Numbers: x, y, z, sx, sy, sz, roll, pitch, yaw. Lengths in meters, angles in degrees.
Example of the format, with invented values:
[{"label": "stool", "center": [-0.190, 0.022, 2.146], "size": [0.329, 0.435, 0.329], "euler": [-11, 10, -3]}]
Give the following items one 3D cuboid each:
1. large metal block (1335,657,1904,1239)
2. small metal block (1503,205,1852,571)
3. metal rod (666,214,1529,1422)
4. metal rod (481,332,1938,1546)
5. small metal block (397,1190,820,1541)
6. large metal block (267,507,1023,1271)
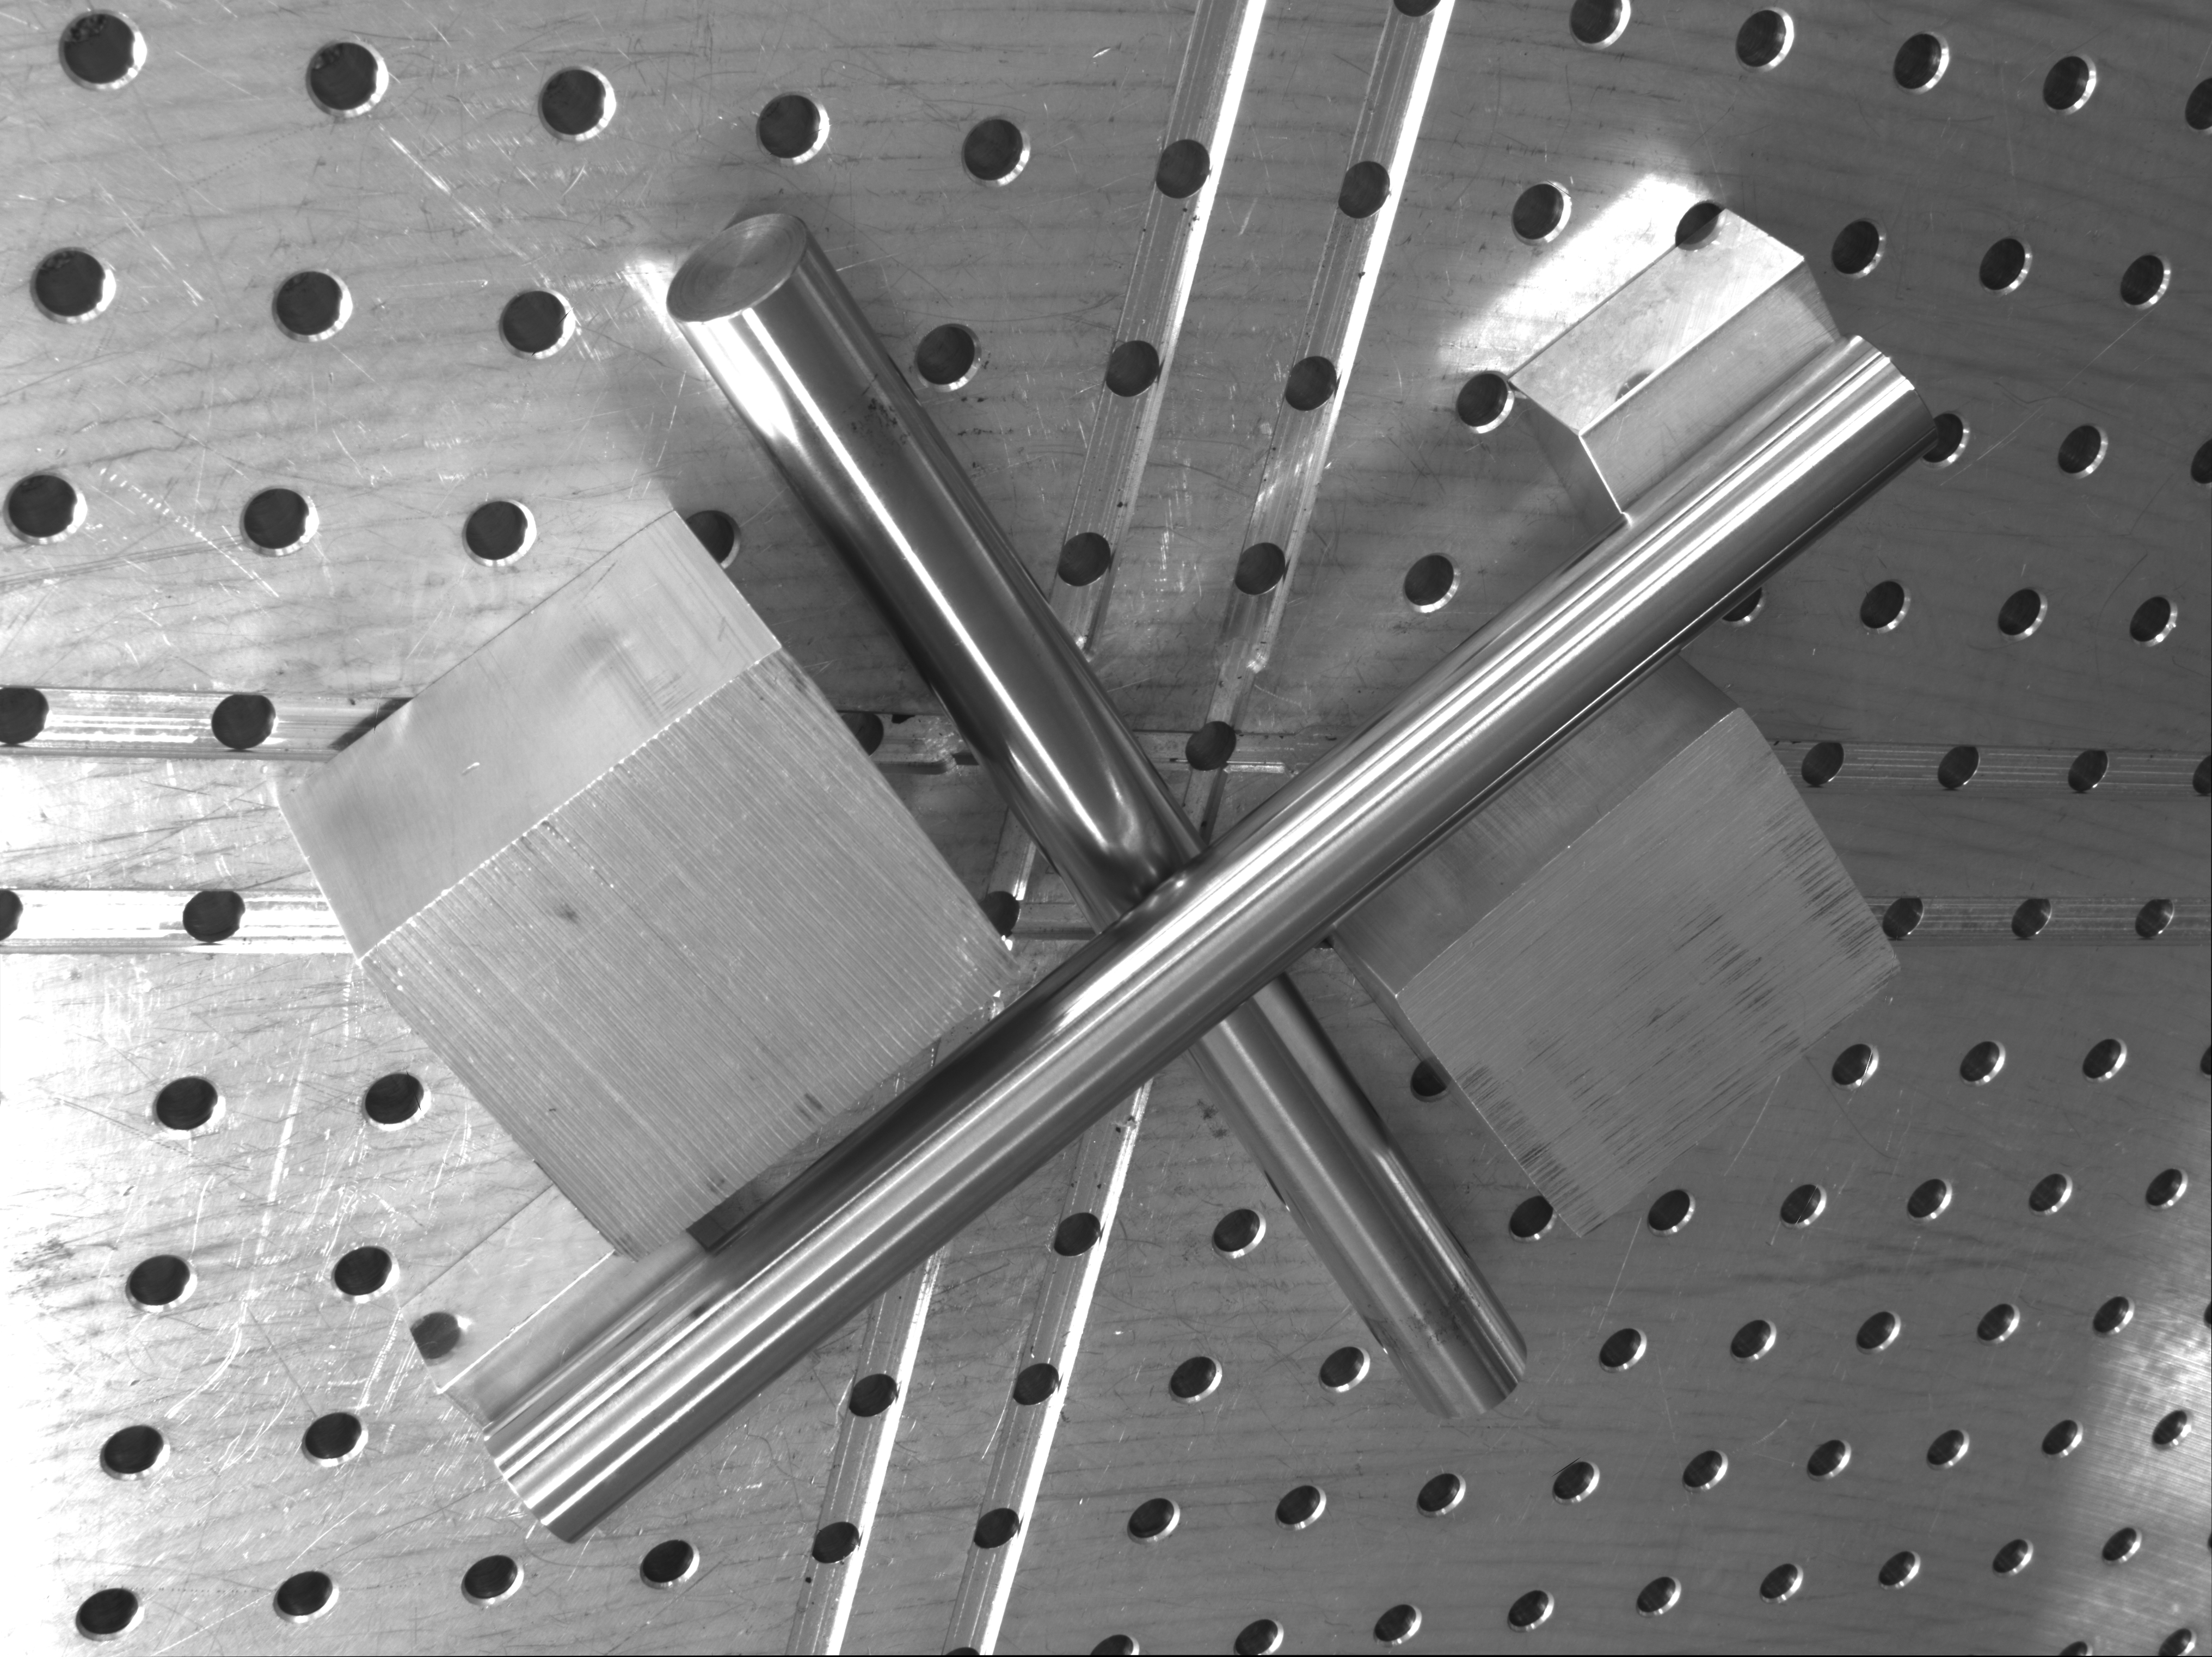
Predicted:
[{"label": "large metal block", "center": [0.089, 0.015, 0.681], "size": [0.080, 0.050, 0.080], "euler": [-40, 129, -1]}, {"label": "small metal block", "center": [0.106, -0.073, 0.654], "size": [0.050, 0.025, 0.050], "euler": [-38, 129, -3]}, {"label": "metal rod", "center": [0.009, 0.013, 0.651], "size": [0.025, 0.025, 0.301], "euler": [-37, 129, -4]}, {"label": "metal rod", "center": [0.019, 0.018, 0.628], "size": [0.300, 0.025, 0.025], "euler": [-39, 129, -2]}, {"label": "small metal block", "center": [-0.087, 0.090, 0.647], "size": [0.050, 0.025, 0.050], "euler": [-39, 129, -2]}, {"label": "large metal block", "center": [-0.073, 0.010, 0.591], "size": [0.080, 0.050, 0.080], "euler": [-37, 129, -3]}]
